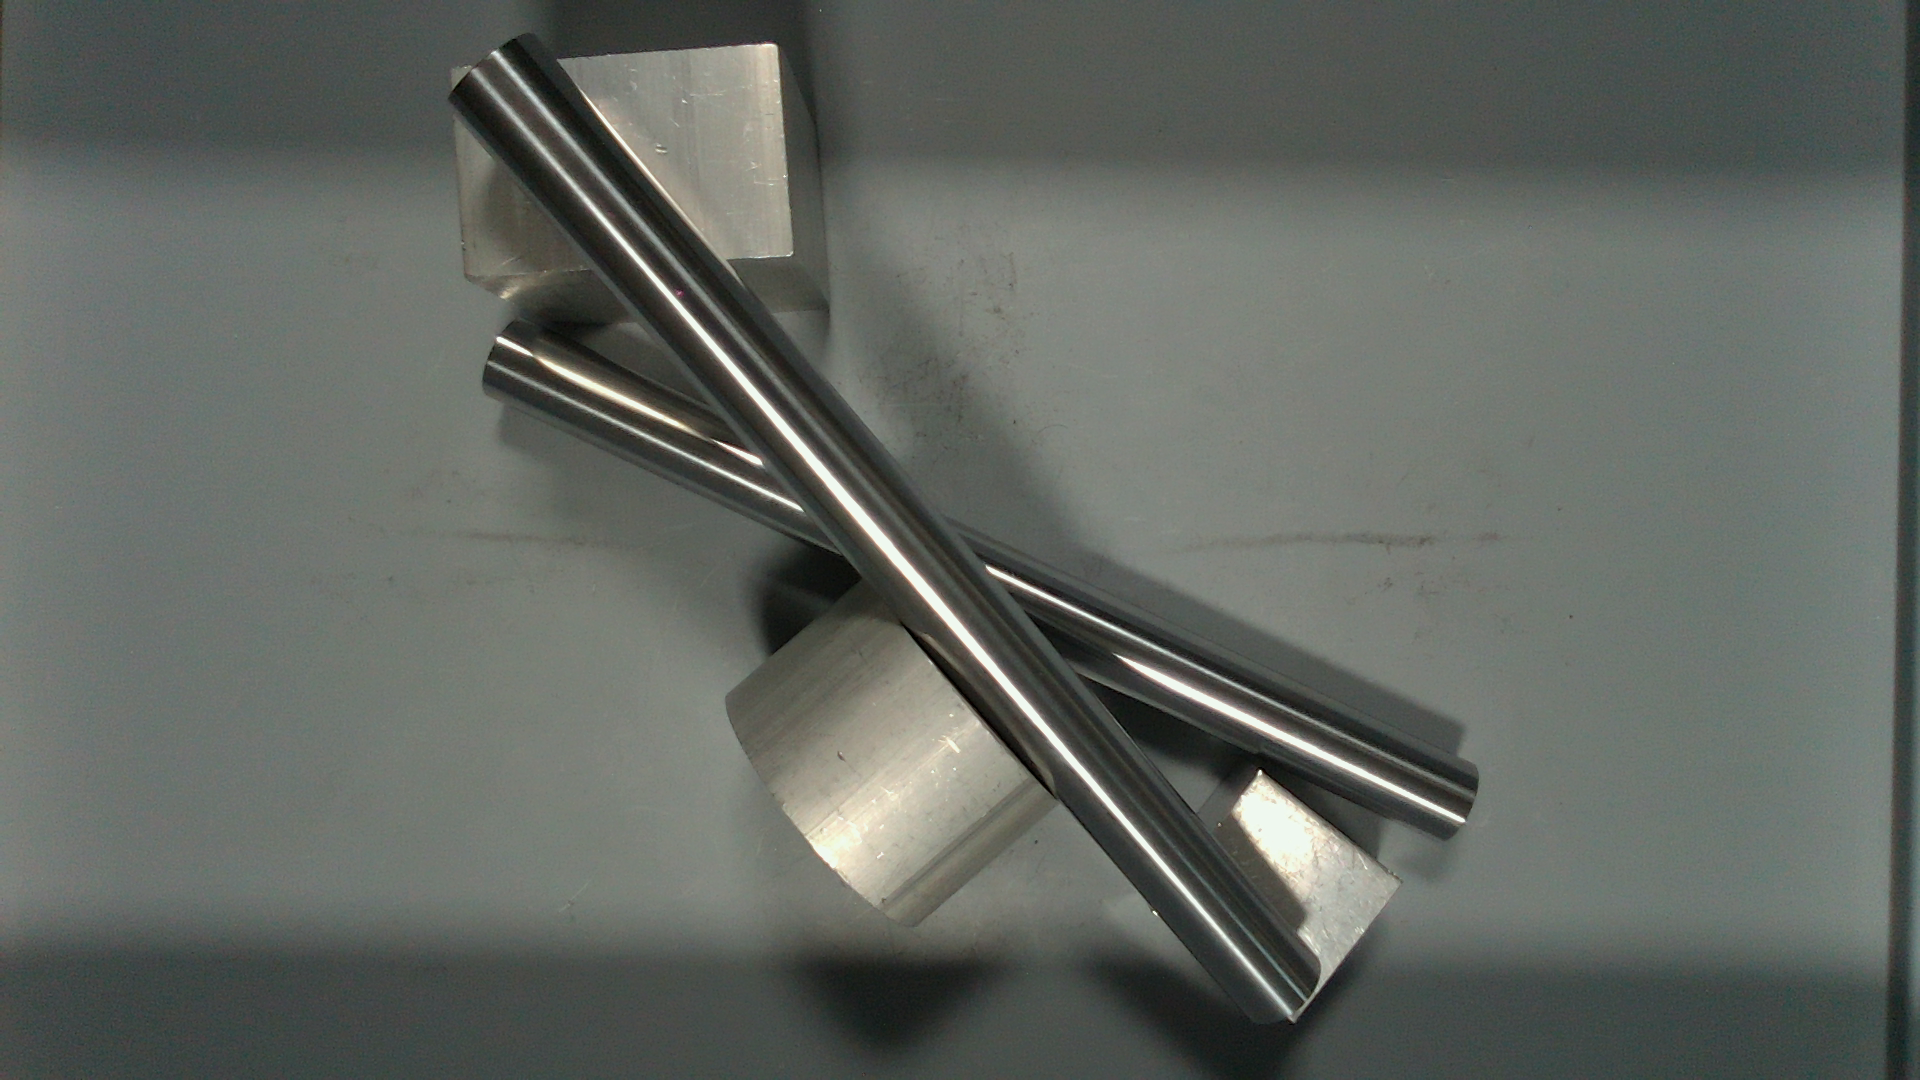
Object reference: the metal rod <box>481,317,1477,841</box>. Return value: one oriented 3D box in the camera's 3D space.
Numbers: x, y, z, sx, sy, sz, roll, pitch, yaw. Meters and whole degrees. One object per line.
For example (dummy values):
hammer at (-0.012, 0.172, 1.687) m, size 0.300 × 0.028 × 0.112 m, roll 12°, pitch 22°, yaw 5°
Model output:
metal rod at (0.006, 0.011, 0.395) m, size 0.300 × 0.025 × 0.025 m, roll 25°, pitch 90°, yaw 0°

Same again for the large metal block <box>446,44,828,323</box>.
large metal block at (-0.080, -0.090, 0.367) m, size 0.080 × 0.080 × 0.050 m, roll -4°, pitch 90°, yaw 0°

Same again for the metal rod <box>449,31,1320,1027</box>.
metal rod at (-0.008, 0.008, 0.336) m, size 0.025 × 0.025 × 0.300 m, roll -40°, pitch 103°, yaw 0°

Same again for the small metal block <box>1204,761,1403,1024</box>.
small metal block at (0.088, 0.100, 0.395) m, size 0.050 × 0.025 × 0.050 m, roll 38°, pitch 90°, yaw 0°

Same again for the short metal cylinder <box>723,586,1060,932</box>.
short metal cylinder at (-0.017, 0.056, 0.366) m, size 0.050 × 0.080 × 0.080 m, roll -40°, pitch 90°, yaw 0°
